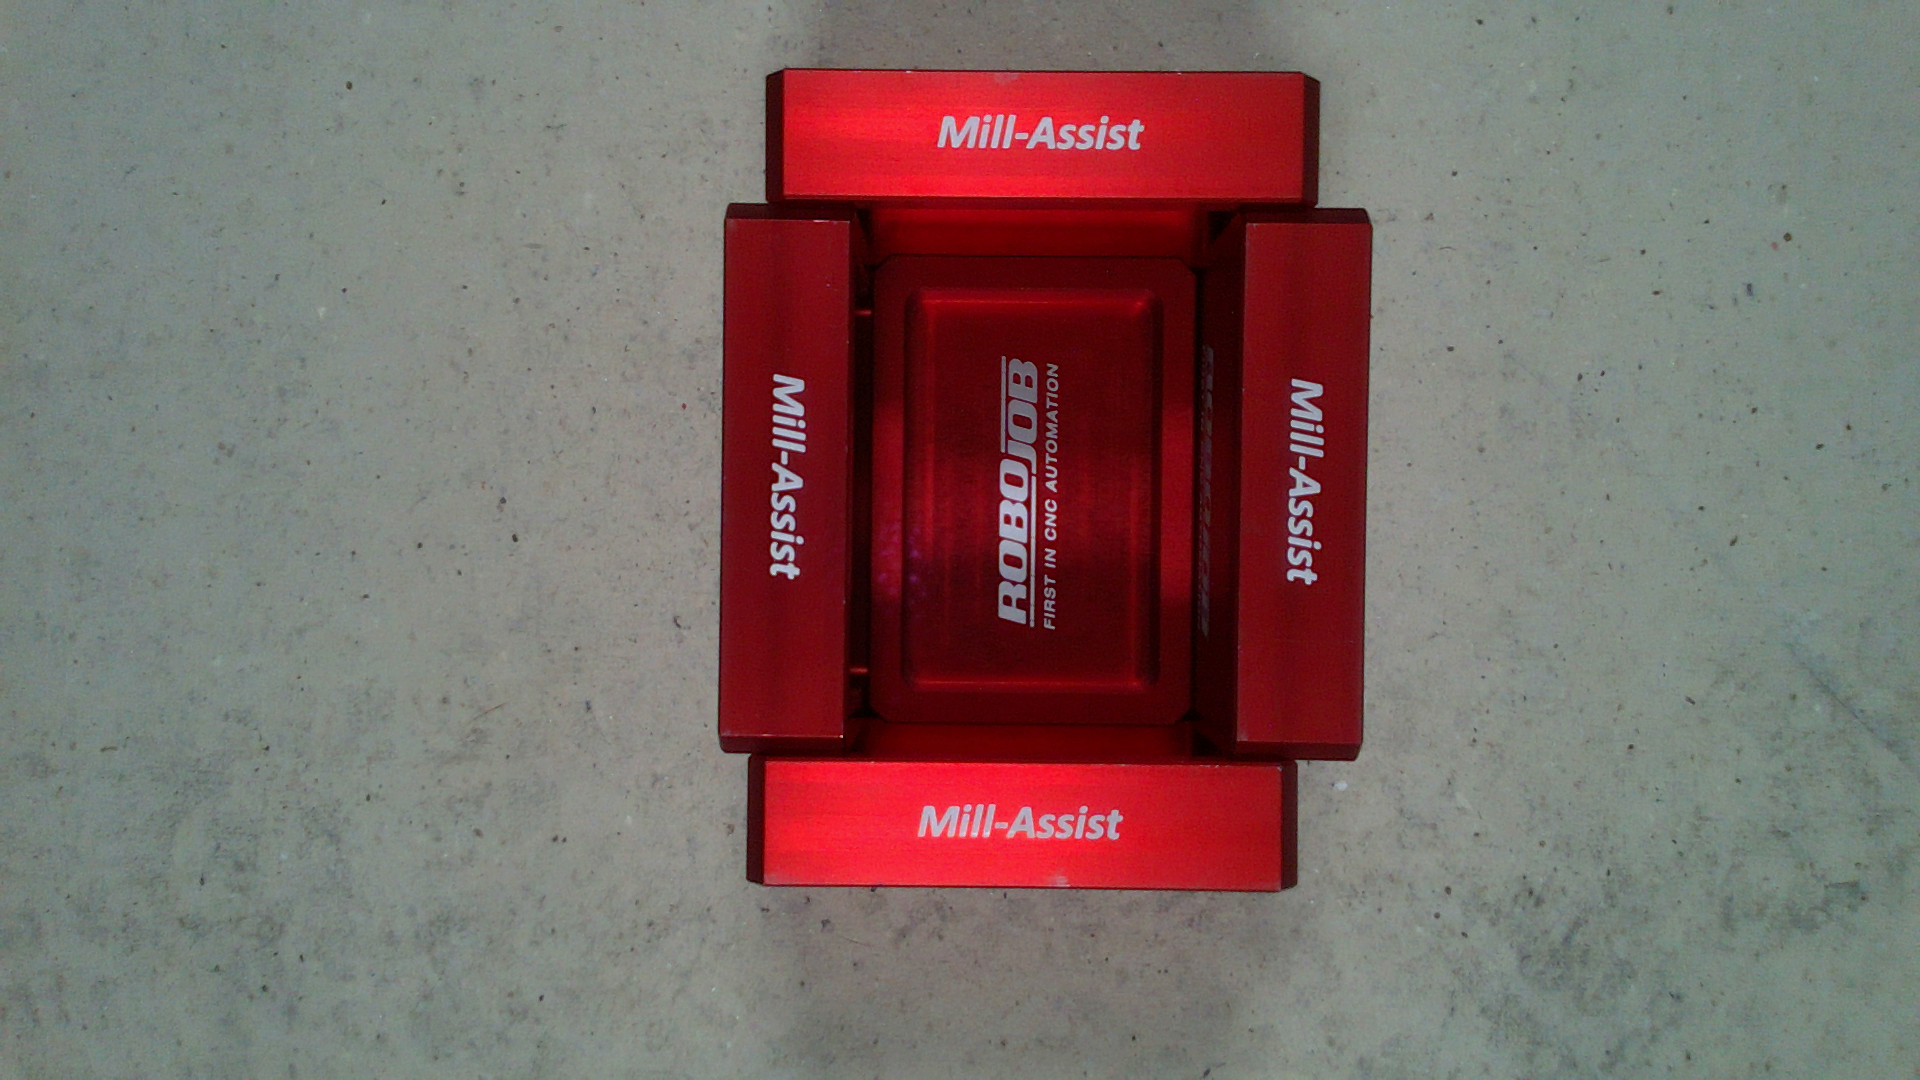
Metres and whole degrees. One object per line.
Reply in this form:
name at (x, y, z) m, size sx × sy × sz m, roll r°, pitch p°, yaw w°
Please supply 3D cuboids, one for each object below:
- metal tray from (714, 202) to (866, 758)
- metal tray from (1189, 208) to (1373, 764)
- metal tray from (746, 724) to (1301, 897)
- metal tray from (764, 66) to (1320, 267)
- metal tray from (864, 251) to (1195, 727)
metal tray at (-0.041, -0.014, 0.362) m, size 0.030 × 0.090 × 0.130 m, roll 1°, pitch 90°, yaw 0°
metal tray at (0.080, -0.013, 0.363) m, size 0.030 × 0.090 × 0.130 m, roll 1°, pitch 90°, yaw 0°
metal tray at (0.015, 0.067, 0.363) m, size 0.130 × 0.090 × 0.030 m, roll 1°, pitch 90°, yaw 0°
metal tray at (0.019, -0.094, 0.362) m, size 0.130 × 0.090 × 0.030 m, roll 1°, pitch 90°, yaw 0°
metal tray at (0.019, -0.014, 0.393) m, size 0.090 × 0.030 × 0.130 m, roll 1°, pitch 90°, yaw 0°
